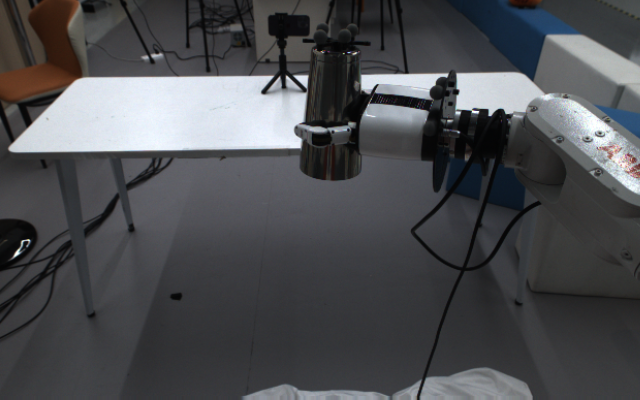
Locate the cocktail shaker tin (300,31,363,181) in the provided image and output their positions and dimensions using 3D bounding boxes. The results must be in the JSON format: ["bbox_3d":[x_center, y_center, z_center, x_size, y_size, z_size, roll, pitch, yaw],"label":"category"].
[{"bbox_3d":[0.019,-0.124,0.674,0.093,0.170,0.093,2,28,-1],"label":"cocktail shaker tin"}]
